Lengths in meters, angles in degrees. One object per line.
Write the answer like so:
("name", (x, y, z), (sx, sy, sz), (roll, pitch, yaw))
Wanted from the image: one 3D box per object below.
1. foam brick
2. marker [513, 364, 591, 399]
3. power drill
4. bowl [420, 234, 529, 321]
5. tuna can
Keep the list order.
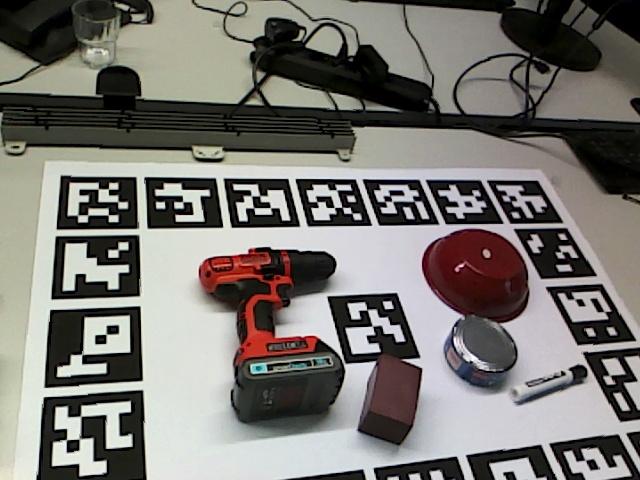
("foam brick", (0.085, 0.186, 0.714), (0.051, 0.053, 0.078), (18, 47, -2))
("marker", (0.301, 0.181, 0.792), (0.120, 0.019, 0.020), (-9, 53, -24))
("power drill", (-0.047, 0.101, 0.748), (0.184, 0.057, 0.188), (0, 46, -21))
("bowl", (0.229, 0.041, 0.893), (0.161, 0.055, 0.162), (6, 41, -5))
("tuna can", (0.209, 0.139, 0.796), (0.085, 0.034, 0.086), (10, 46, -11))
